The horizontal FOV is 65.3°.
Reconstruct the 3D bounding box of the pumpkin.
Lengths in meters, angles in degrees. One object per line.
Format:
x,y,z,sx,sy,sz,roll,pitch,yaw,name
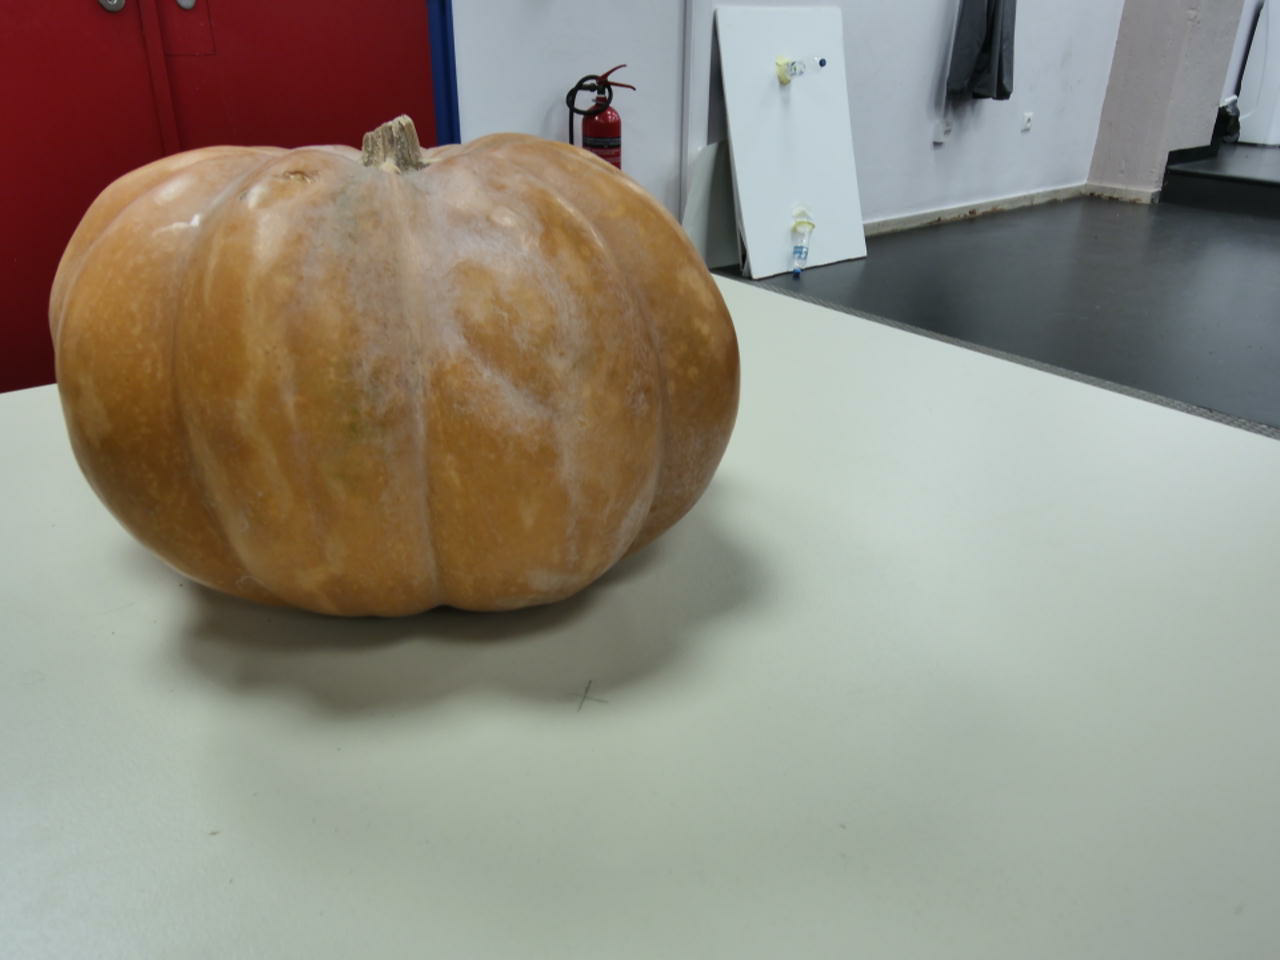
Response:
-0.092,-0.051,0.409,0.277,0.181,0.277,0,24,0,pumpkin
